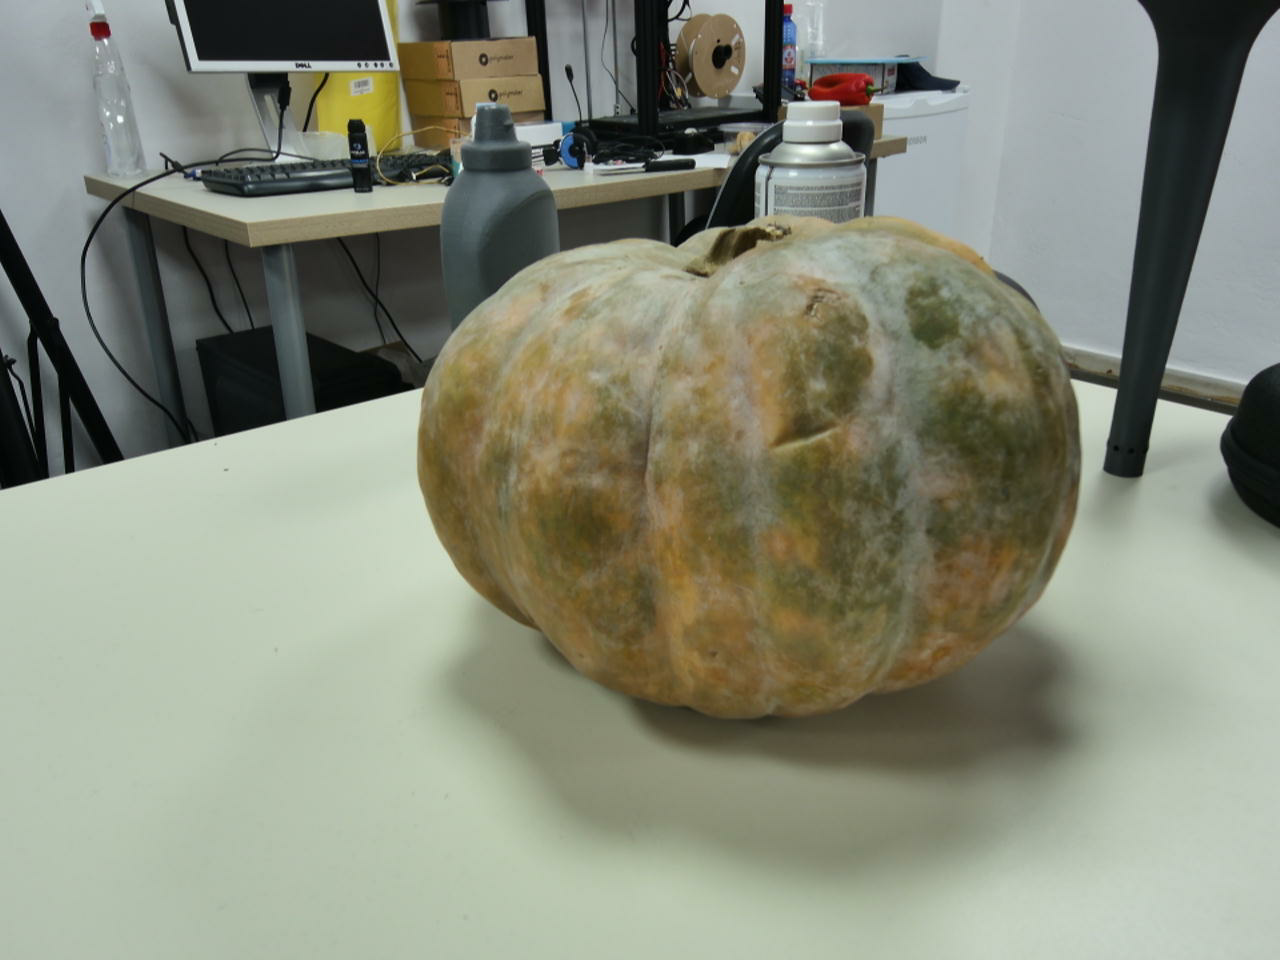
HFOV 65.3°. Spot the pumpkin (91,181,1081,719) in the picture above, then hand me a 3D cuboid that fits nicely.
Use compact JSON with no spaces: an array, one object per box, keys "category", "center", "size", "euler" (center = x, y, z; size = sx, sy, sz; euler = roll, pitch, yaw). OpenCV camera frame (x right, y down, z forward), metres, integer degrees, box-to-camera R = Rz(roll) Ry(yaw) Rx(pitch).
[{"category":"pumpkin","center":[0.041,-0.017,0.389],"size":[0.252,0.169,0.251],"euler":[0,22,0]}]
